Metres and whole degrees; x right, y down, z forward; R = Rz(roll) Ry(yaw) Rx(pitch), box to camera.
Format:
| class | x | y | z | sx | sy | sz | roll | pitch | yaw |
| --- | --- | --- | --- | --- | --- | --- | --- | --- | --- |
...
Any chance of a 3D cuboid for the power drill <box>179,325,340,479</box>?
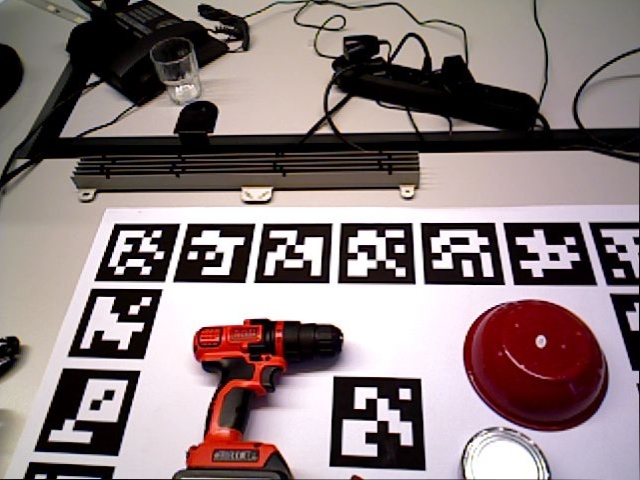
| class | x | y | z | sx | sy | sz | roll | pitch | yaw |
| --- | --- | --- | --- | --- | --- | --- | --- | --- | --- |
| power drill | -0.071 | 0.179 | 0.587 | 0.184 | 0.058 | 0.184 | 1 | 52 | 2 |

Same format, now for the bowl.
| class | x | y | z | sx | sy | sz | roll | pitch | yaw |
| --- | --- | --- | --- | --- | --- | --- | --- | --- | --- |
| bowl | 0.241 | 0.119 | 0.605 | 0.161 | 0.056 | 0.159 | -5 | 47 | 5 |

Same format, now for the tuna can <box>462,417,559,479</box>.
| class | x | y | z | sx | sy | sz | roll | pitch | yaw |
| --- | --- | --- | --- | --- | --- | --- | --- | --- | --- |
| tuna can | 0.186 | 0.222 | 0.536 | 0.085 | 0.034 | 0.084 | -2 | 54 | 2 |

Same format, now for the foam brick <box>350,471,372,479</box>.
| class | x | y | z | sx | sy | sz | roll | pitch | yaw |
| --- | --- | --- | --- | --- | --- | --- | --- | --- | --- |
| foam brick | 0.040 | 0.271 | 0.514 | 0.051 | 0.054 | 0.076 | 21 | 60 | 18 |
